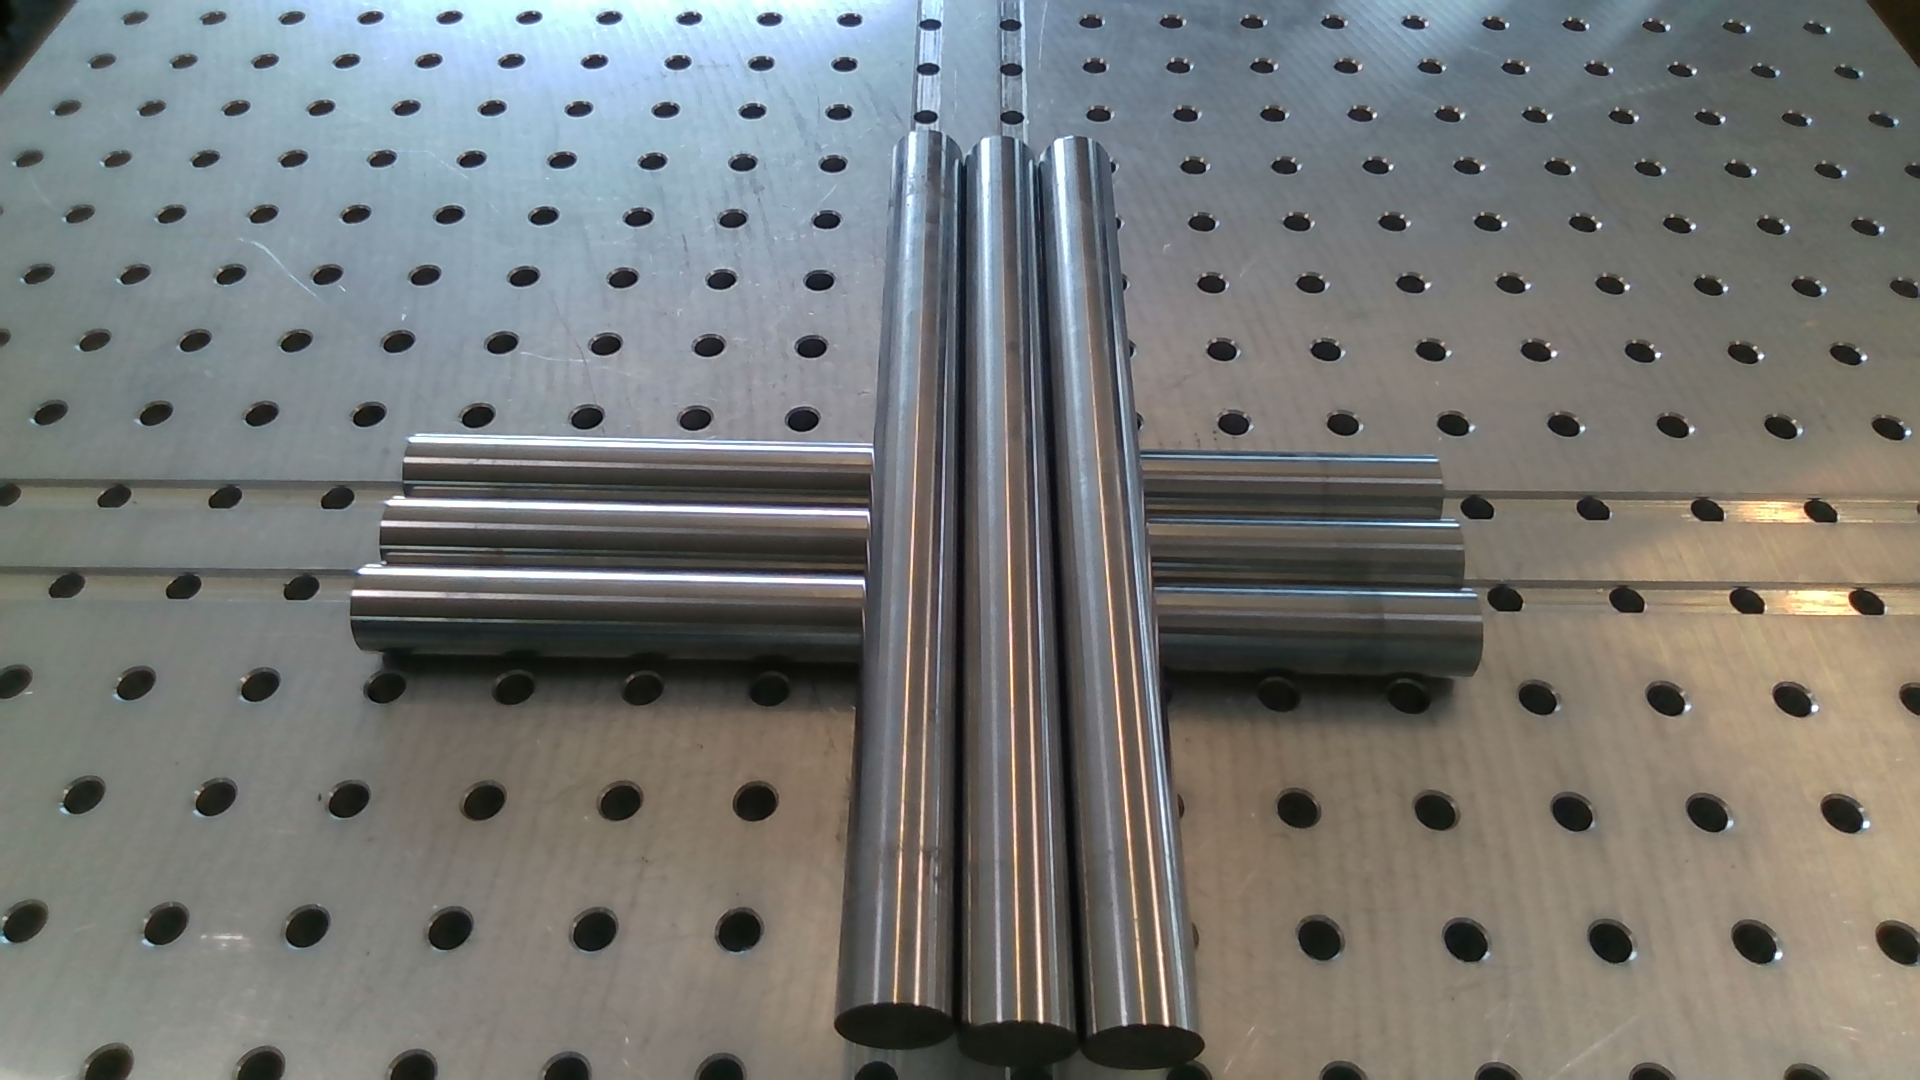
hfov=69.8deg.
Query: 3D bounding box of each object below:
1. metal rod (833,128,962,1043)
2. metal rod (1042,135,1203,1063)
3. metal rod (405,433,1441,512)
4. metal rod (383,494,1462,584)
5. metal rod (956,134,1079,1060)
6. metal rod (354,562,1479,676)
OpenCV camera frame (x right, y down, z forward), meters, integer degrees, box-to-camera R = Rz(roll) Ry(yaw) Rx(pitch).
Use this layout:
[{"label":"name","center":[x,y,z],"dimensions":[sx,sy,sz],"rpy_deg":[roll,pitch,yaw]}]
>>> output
[{"label":"metal rod","center":[-0.012,-0.016,0.378],"dimensions":[0.025,0.025,0.299],"rpy_deg":[0,50,0]},{"label":"metal rod","center":[0.038,-0.013,0.375],"dimensions":[0.025,0.025,0.299],"rpy_deg":[0,50,0]},{"label":"metal rod","center":[-0.012,-0.016,0.411],"dimensions":[0.300,0.025,0.025],"rpy_deg":[1,50,1]},{"label":"metal rod","center":[-0.011,0.002,0.395],"dimensions":[0.300,0.025,0.025],"rpy_deg":[1,50,1]},{"label":"metal rod","center":[0.013,-0.013,0.375],"dimensions":[0.025,0.025,0.299],"rpy_deg":[0,50,0]},{"label":"metal rod","center":[-0.013,0.022,0.379],"dimensions":[0.300,0.025,0.025],"rpy_deg":[1,50,1]}]
